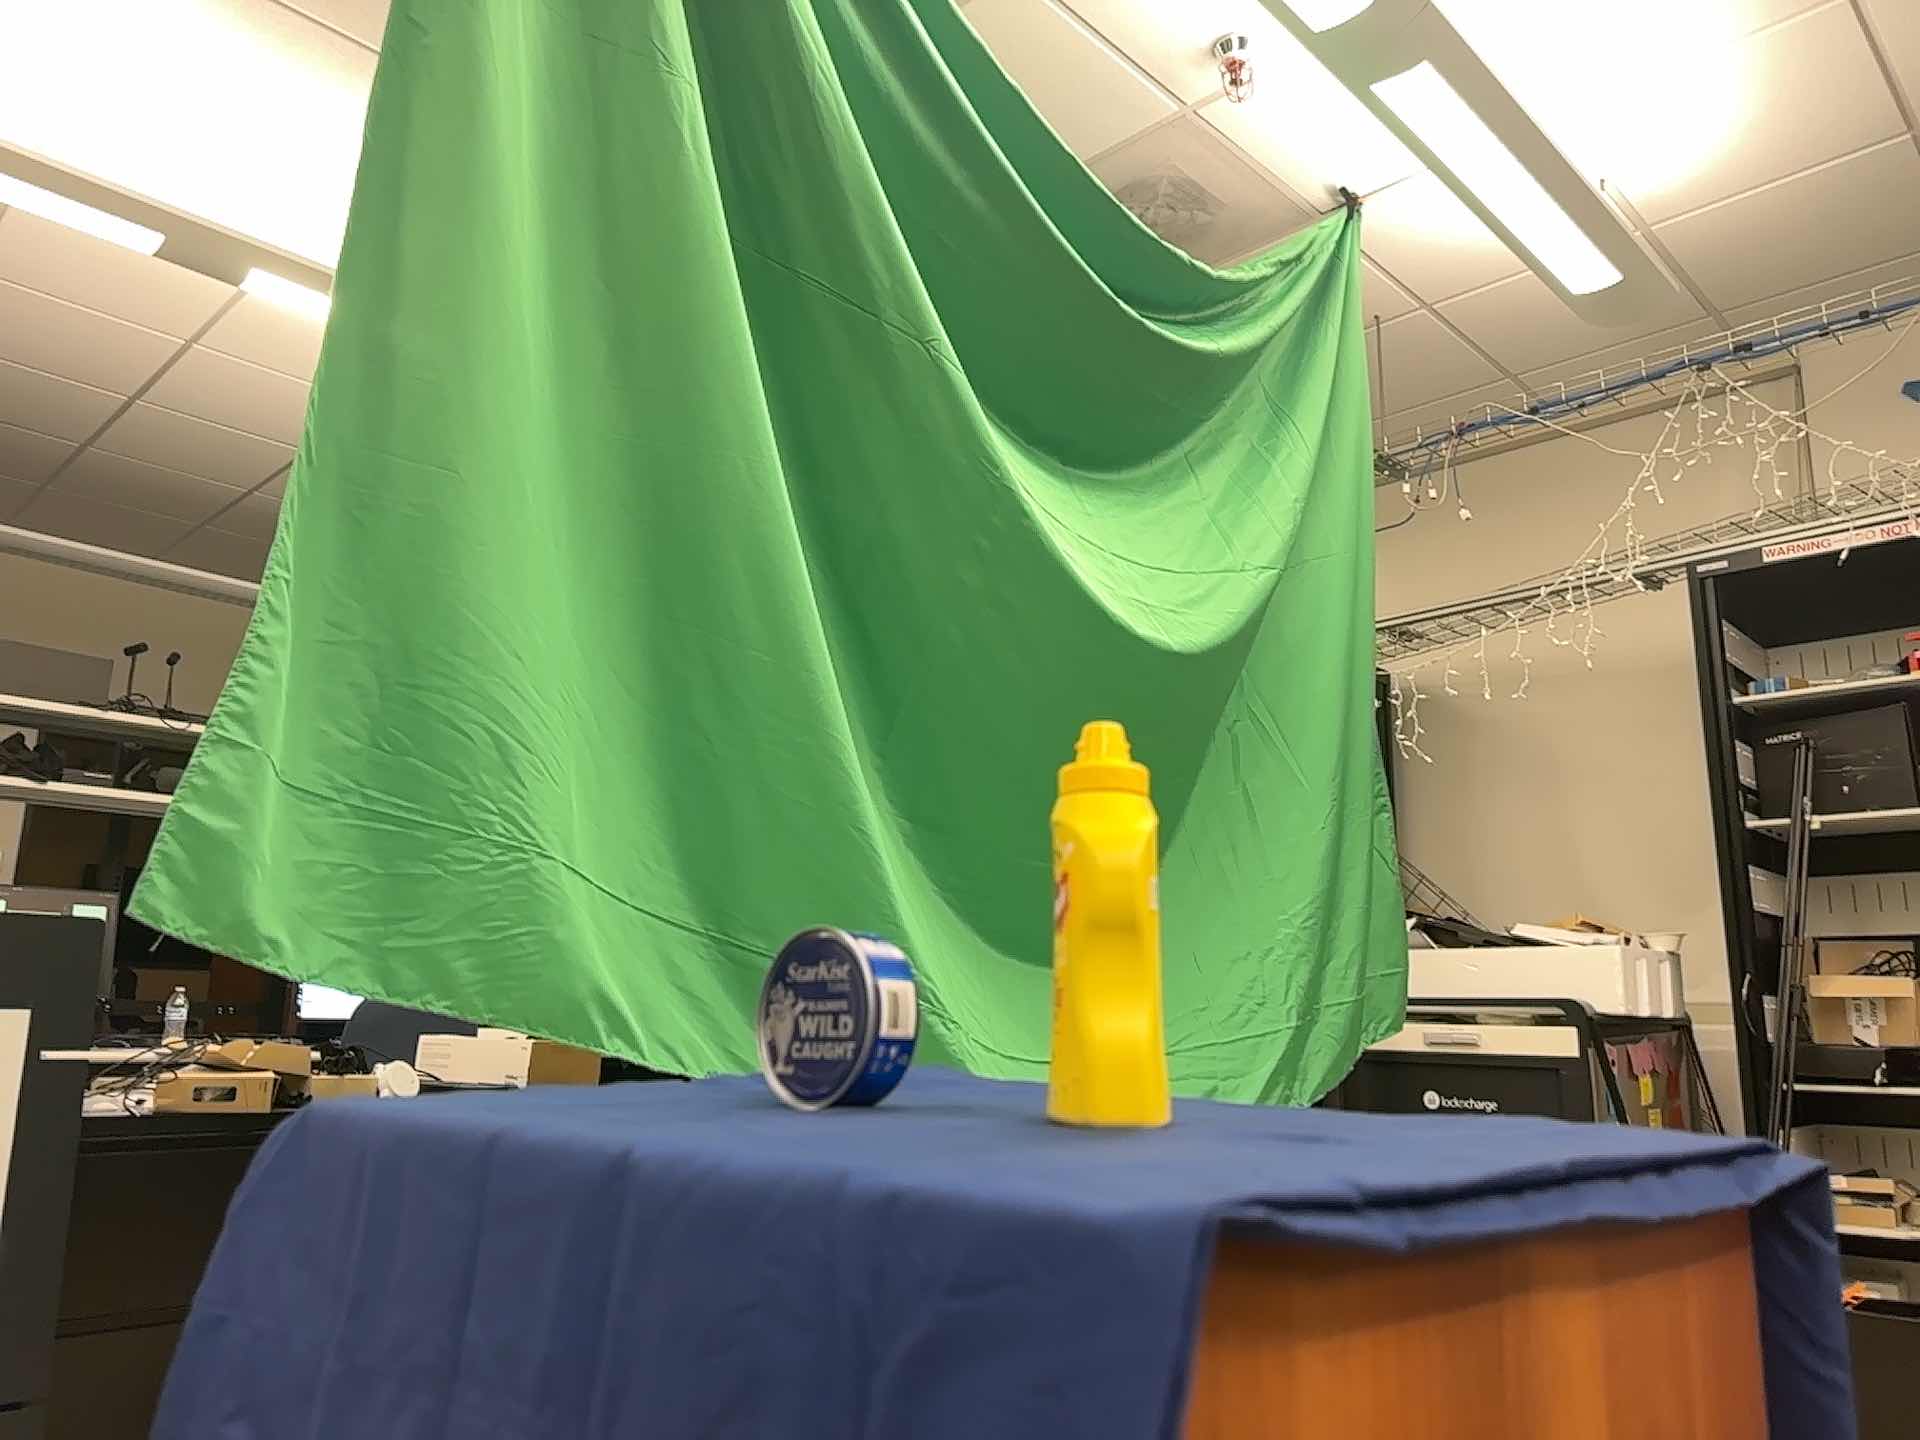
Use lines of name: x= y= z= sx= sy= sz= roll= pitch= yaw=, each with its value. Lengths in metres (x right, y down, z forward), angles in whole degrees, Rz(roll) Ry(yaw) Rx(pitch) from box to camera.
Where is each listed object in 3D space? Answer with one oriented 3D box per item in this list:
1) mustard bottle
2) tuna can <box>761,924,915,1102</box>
mustard bottle: x=0.065 y=0.087 z=0.610 sx=0.054 sy=0.184 sz=0.092 roll=1 pitch=-12 yaw=5
tuna can: x=-0.061 y=0.144 z=0.661 sx=0.034 sy=0.083 sz=0.083 roll=13 pitch=-16 yaw=-40
